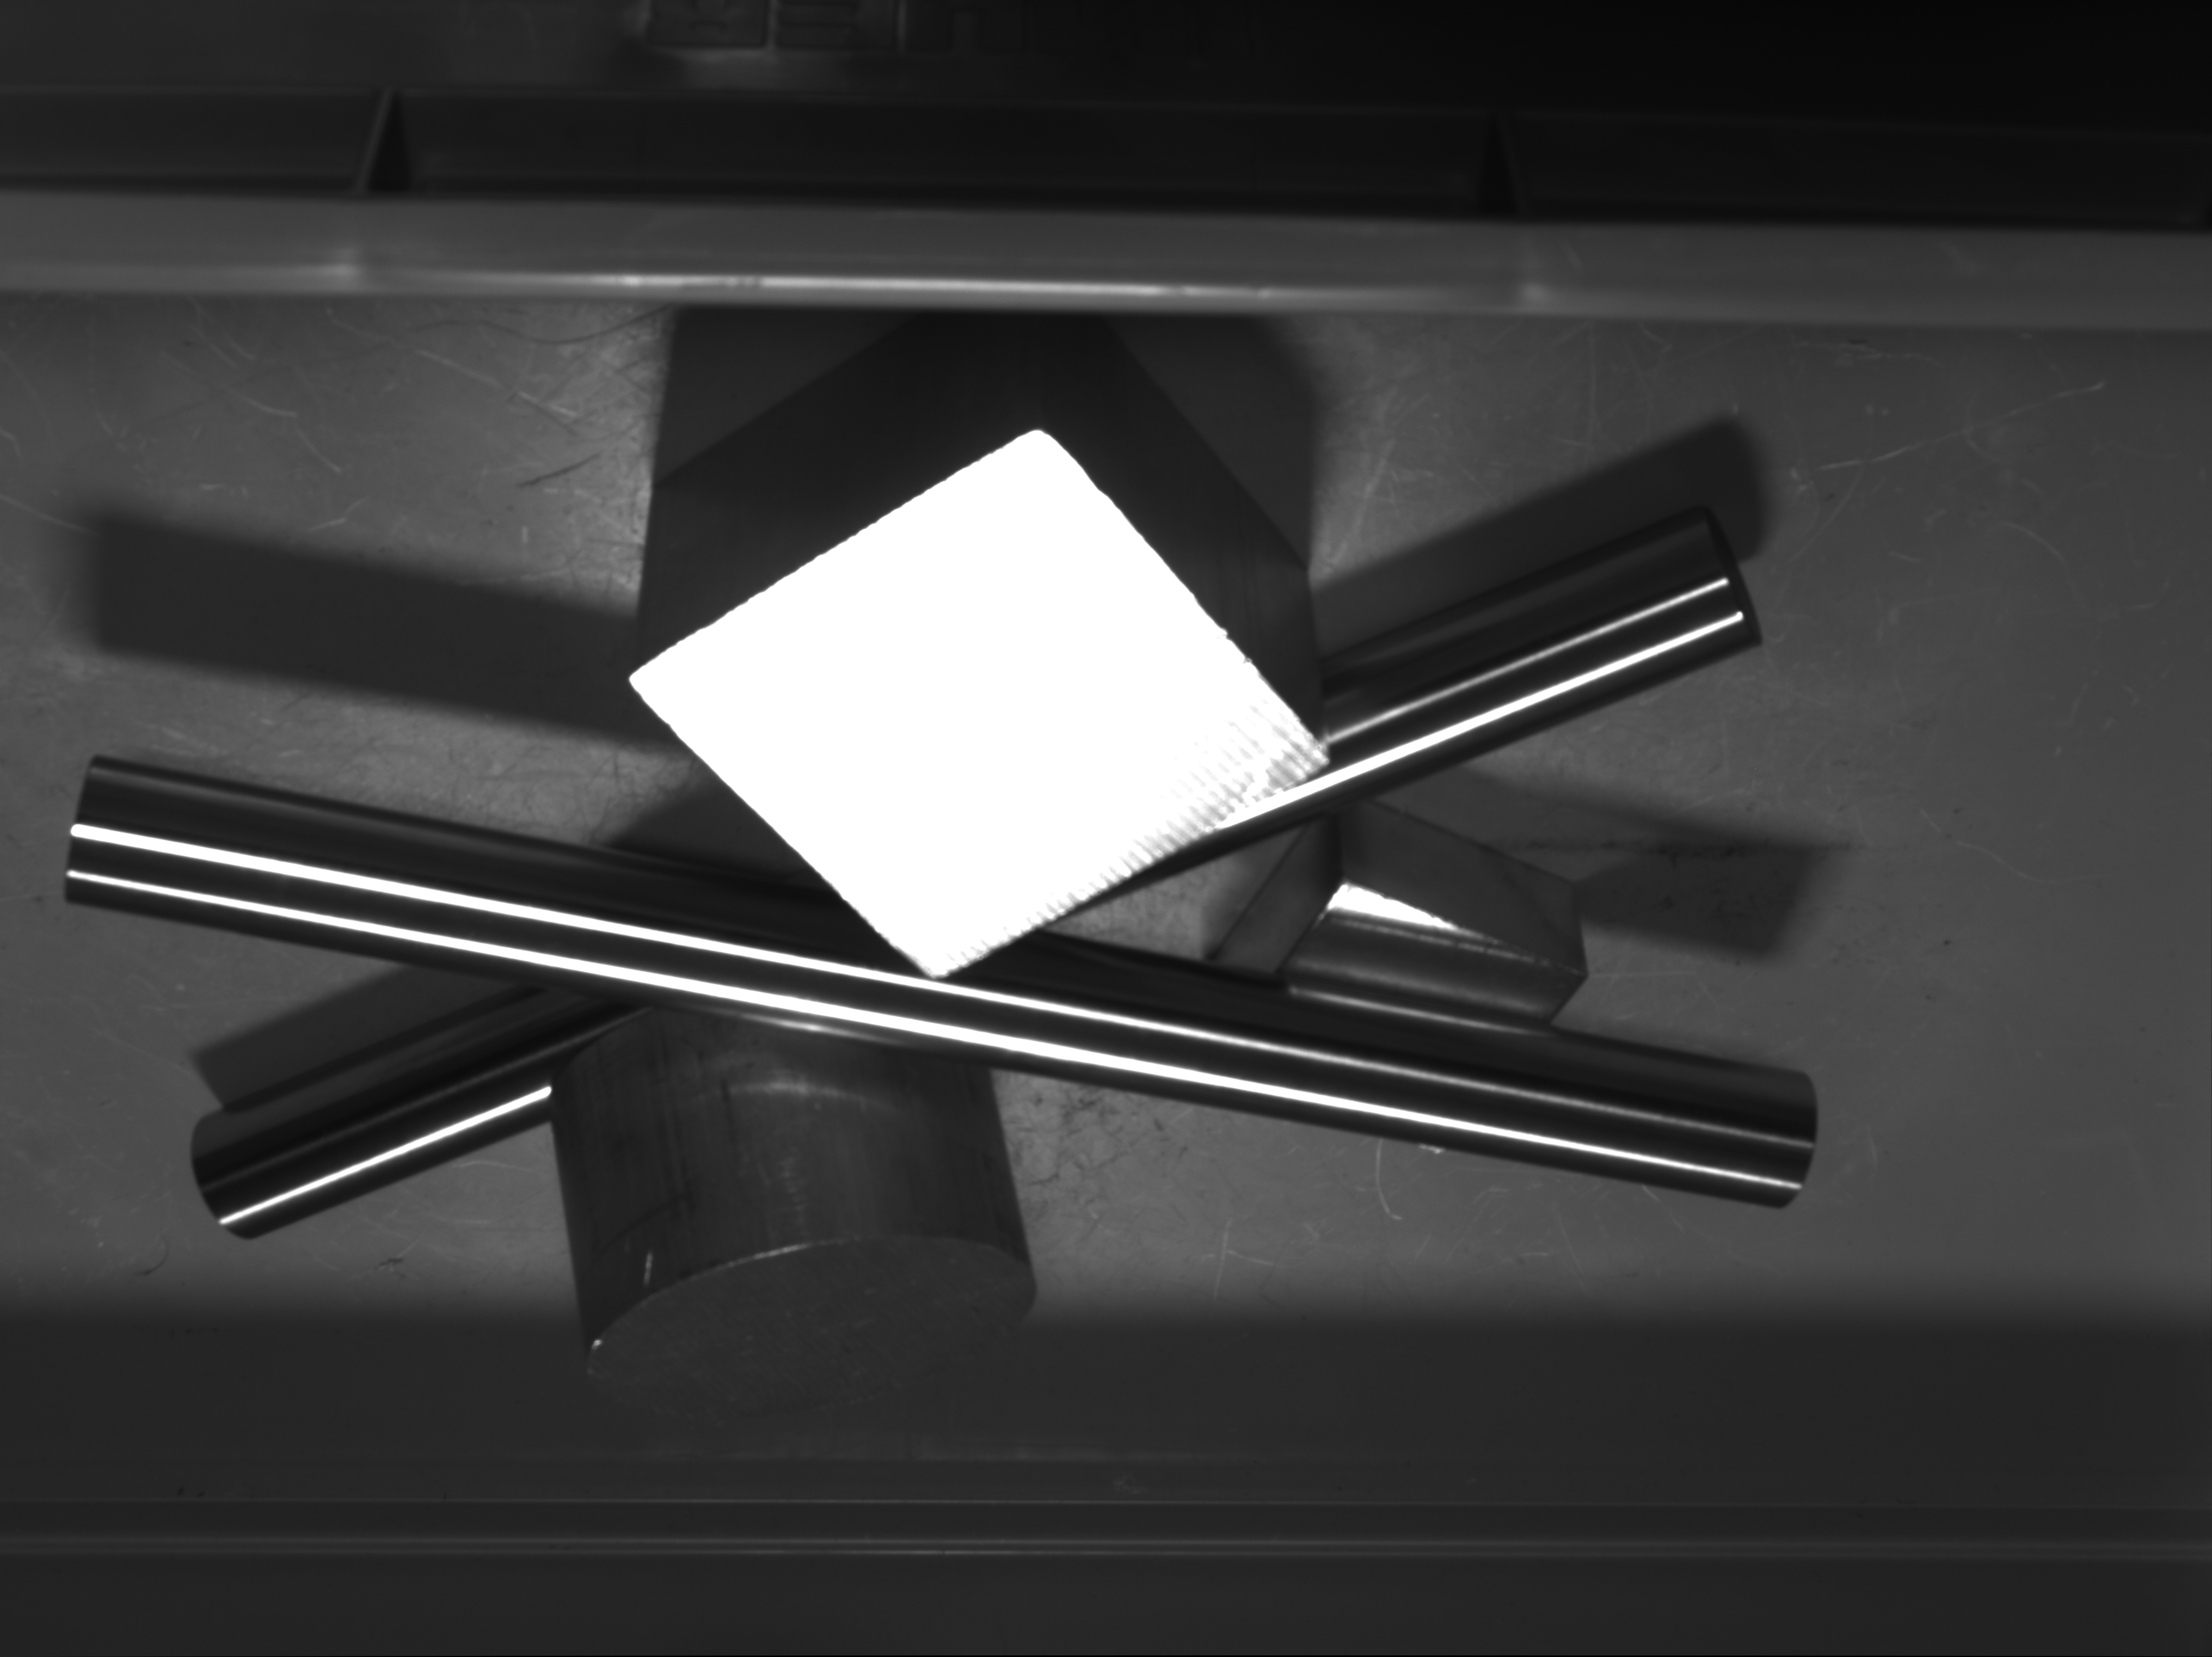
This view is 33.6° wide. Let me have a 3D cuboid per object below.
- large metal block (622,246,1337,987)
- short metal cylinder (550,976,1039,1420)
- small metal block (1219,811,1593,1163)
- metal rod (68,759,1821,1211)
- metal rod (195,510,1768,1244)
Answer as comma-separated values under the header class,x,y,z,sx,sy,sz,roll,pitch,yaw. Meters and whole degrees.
class,x,y,z,sx,sy,sz,roll,pitch,yaw
large metal block,-0.020,-0.033,0.592,0.080,0.050,0.080,-29,125,21
short metal cylinder,-0.056,0.067,0.657,0.080,0.050,0.080,-11,153,-6
small metal block,0.052,0.028,0.659,0.050,0.025,0.050,21,126,-18
metal rod,-0.022,0.028,0.627,0.300,0.025,0.025,11,129,-10
metal rod,-0.029,0.012,0.646,0.300,0.025,0.025,-22,127,16
